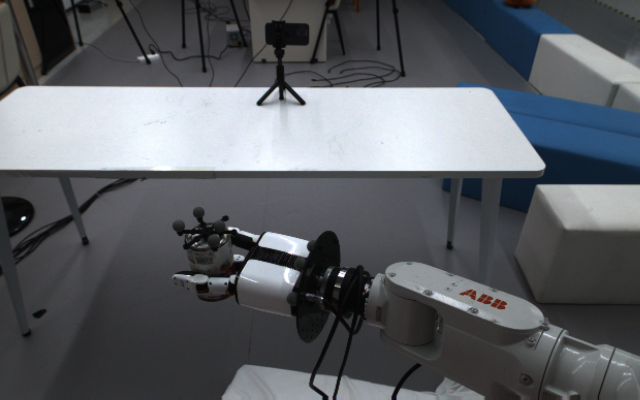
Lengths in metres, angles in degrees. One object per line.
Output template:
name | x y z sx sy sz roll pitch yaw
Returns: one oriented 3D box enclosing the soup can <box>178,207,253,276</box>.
soup can | -0.163 0.096 0.730 0.067 0.101 0.067 -1 32 1
